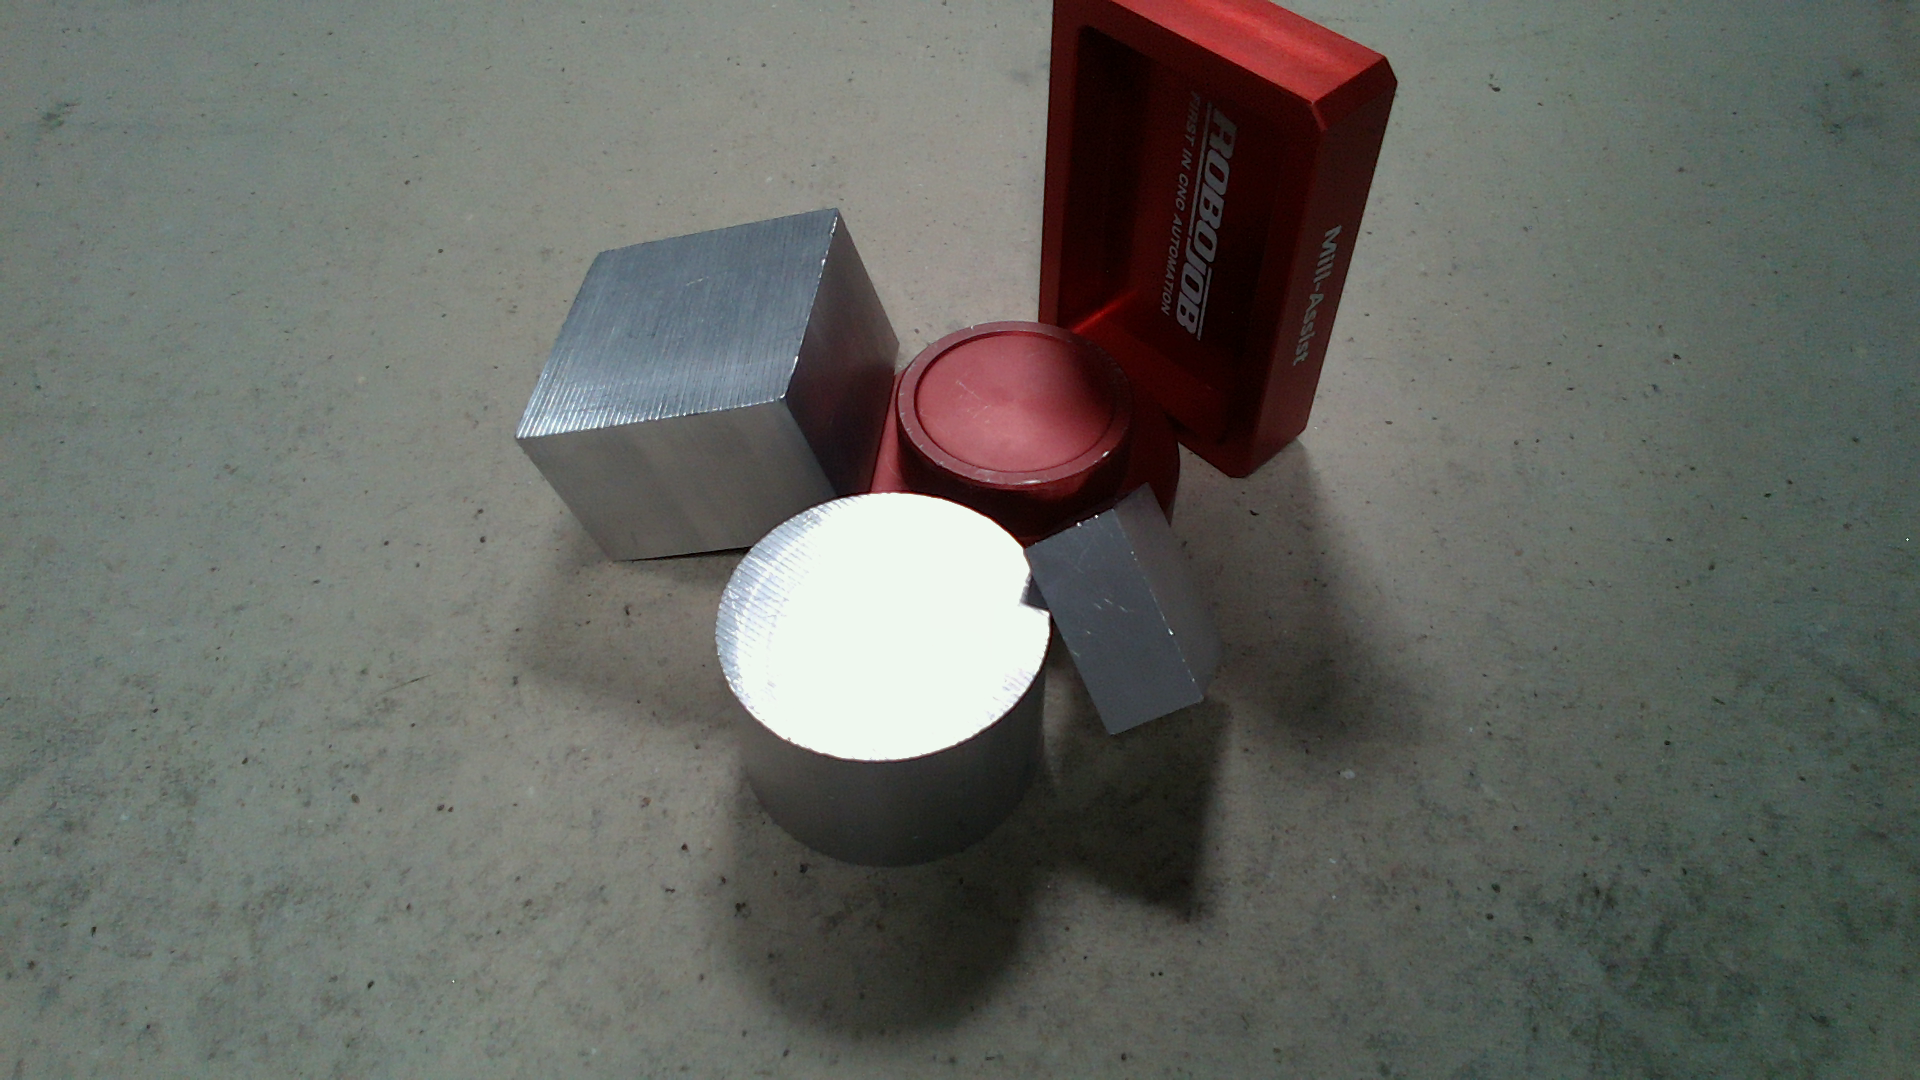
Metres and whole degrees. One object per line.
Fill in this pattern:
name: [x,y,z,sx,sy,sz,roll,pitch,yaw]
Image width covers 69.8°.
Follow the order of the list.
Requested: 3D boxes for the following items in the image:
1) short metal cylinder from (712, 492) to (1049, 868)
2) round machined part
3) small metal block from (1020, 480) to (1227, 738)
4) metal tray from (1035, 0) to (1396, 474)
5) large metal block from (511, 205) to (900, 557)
short metal cylinder: [-0.019,0.034,0.347,0.080,0.050,0.080,0,50,0]
round machined part: [0.016,-0.027,0.404,0.098,0.042,0.098,0,50,0]
small metal block: [0.043,0.016,0.348,0.025,0.050,0.050,-25,92,20]
metal tray: [0.066,-0.091,0.399,0.030,0.130,0.090,-37,59,-27]
large metal block: [-0.069,-0.045,0.397,0.080,0.050,0.080,-6,48,18]
